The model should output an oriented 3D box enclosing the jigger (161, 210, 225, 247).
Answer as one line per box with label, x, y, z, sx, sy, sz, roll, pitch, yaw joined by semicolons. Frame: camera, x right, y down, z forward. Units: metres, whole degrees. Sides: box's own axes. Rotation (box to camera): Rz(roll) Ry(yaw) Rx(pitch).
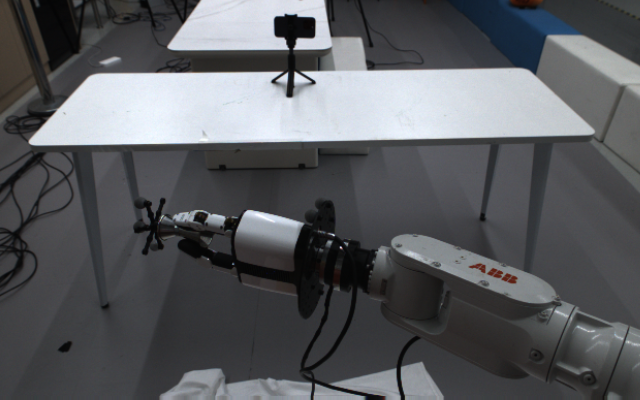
jigger;-0.186;0.040;0.699;0.071;0.043;0.043;6;35;13
